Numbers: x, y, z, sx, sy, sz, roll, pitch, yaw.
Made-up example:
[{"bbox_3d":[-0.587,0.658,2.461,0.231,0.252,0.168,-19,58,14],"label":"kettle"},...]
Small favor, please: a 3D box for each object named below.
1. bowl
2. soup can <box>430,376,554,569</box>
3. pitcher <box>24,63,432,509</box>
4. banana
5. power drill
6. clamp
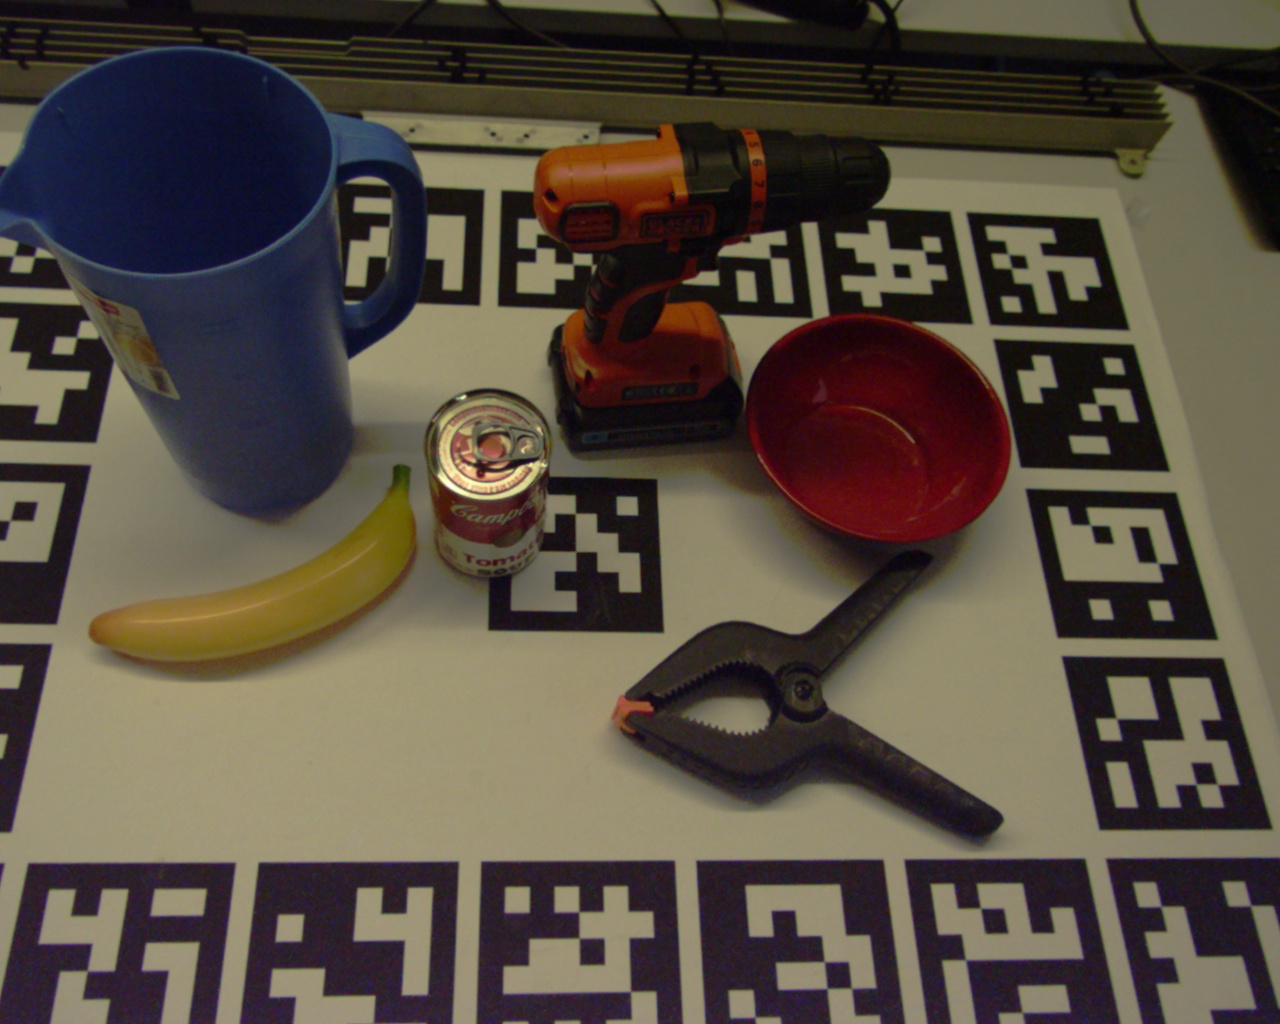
[{"bbox_3d":[0.135,-0.046,0.725,0.161,0.055,0.162,2,65,-5],"label":"bowl"},{"bbox_3d":[-0.086,-0.021,0.667,0.068,0.102,0.068,3,55,-4],"label":"soup can"},{"bbox_3d":[-0.201,-0.108,0.619,0.187,0.242,0.134,-22,65,-17],"label":"pitcher"},{"bbox_3d":[-0.210,0.038,0.662,0.196,0.039,0.075,-23,60,-18],"label":"banana"},{"bbox_3d":[0.033,-0.135,0.666,0.184,0.187,0.057,-4,65,-9],"label":"power drill"},{"bbox_3d":[0.083,0.097,0.652,0.202,0.036,0.166,-2,68,-7],"label":"clamp"}]
